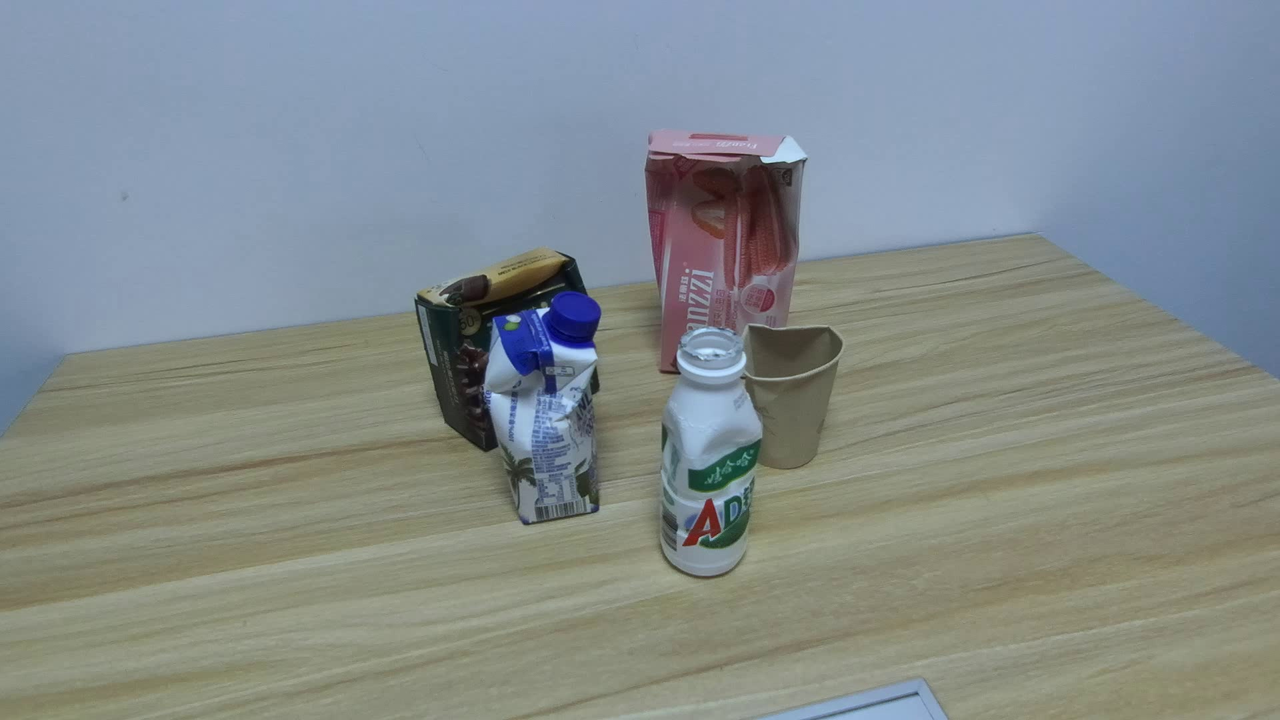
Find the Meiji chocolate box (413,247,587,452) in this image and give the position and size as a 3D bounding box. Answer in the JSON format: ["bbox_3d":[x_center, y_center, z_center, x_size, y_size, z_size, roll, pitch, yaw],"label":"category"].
[{"bbox_3d":[-0.094,-0.010,0.523,0.113,0.111,0.058,-28,33,-34],"label":"Meiji chocolate box"}]

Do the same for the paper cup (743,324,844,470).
[{"bbox_3d":[0.098,0.026,0.474,0.071,0.084,0.066,0,34,4],"label":"paper cup"}]

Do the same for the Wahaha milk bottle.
[{"bbox_3d":[0.037,0.051,0.385,0.055,0.149,0.055,-1,34,1],"label":"Wahaha milk bottle"}]

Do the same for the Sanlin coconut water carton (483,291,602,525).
[{"bbox_3d":[-0.056,0.029,0.427,0.070,0.144,0.060,-8,36,-11],"label":"Sanlin coconut water carton"}]

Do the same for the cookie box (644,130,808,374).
[{"bbox_3d":[0.060,-0.073,0.533,0.118,0.184,0.055,6,34,12],"label":"cookie box"}]
